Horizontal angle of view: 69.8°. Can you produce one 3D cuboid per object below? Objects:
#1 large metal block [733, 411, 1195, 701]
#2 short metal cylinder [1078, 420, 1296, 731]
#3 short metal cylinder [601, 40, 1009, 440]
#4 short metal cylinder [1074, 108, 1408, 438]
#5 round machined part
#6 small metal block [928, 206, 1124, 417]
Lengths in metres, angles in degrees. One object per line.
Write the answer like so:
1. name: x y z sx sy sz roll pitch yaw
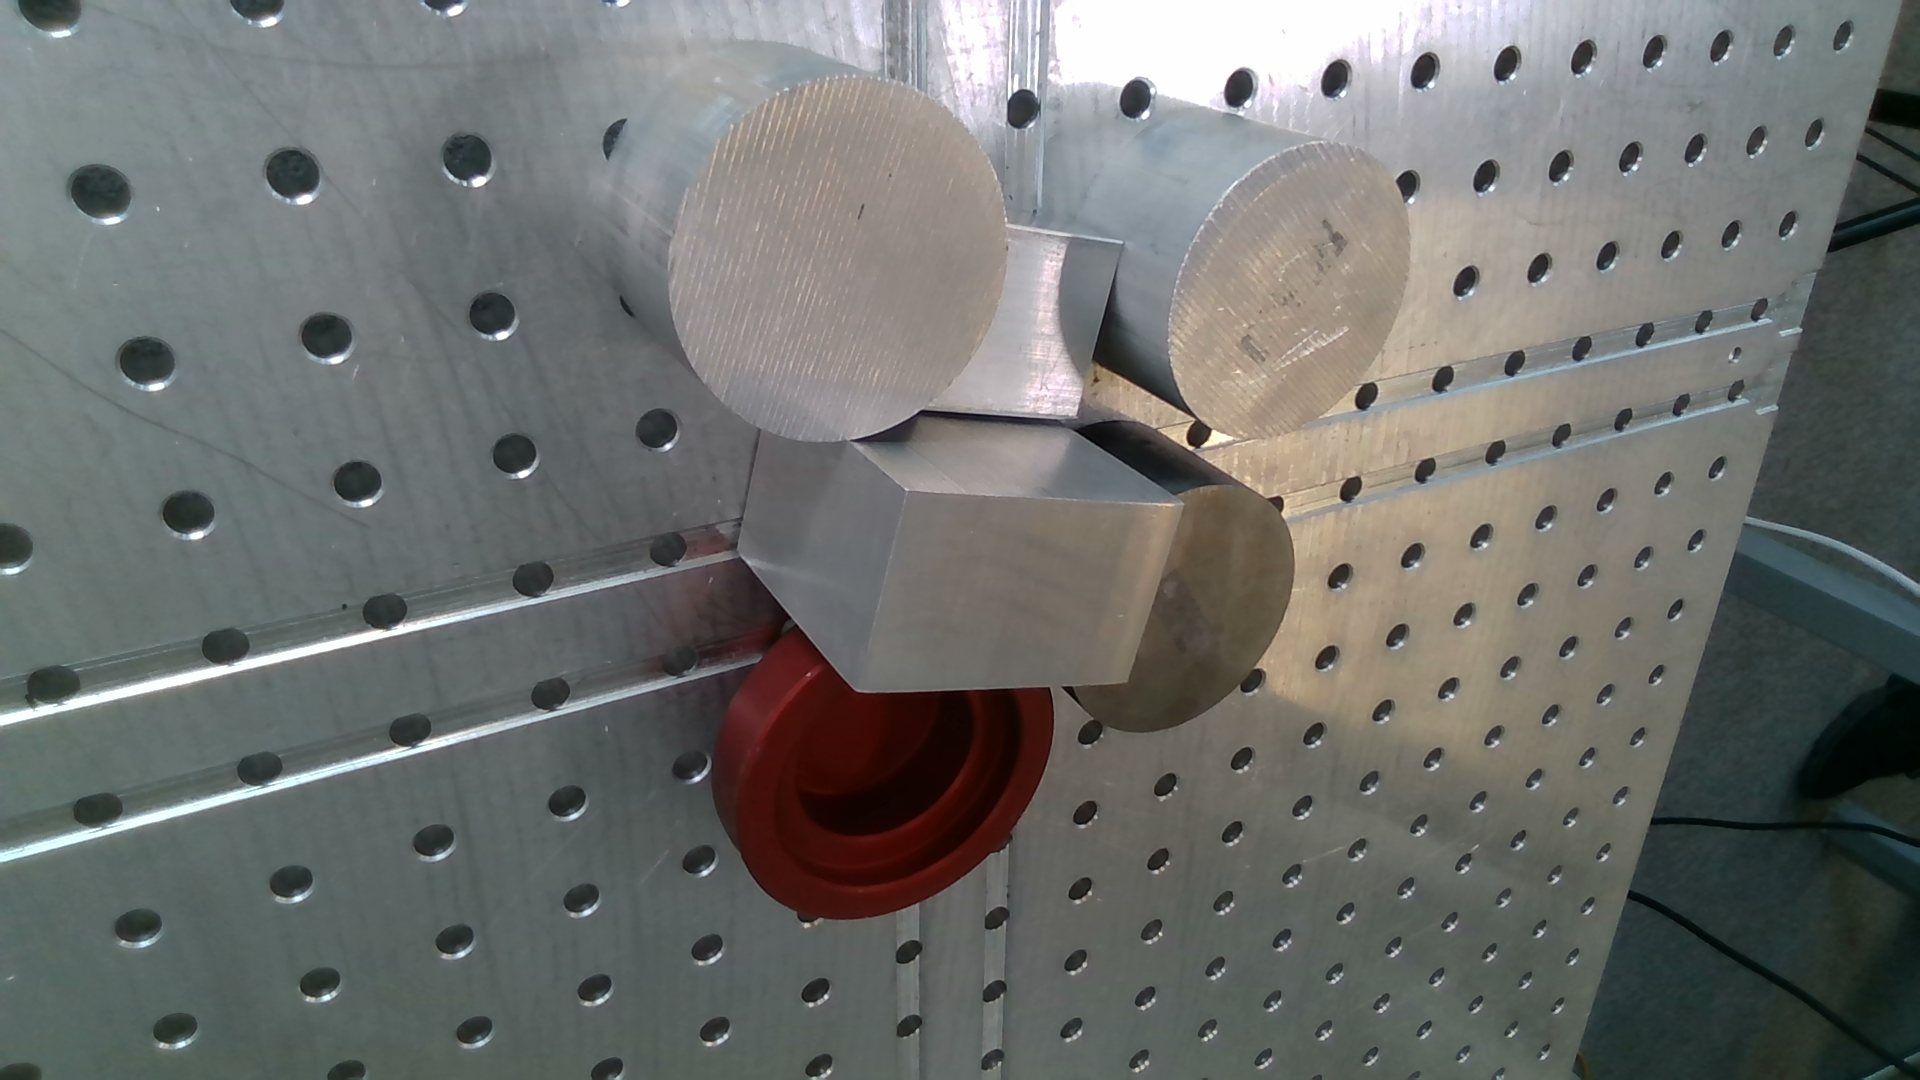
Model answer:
1. large metal block: -0.002 -0.002 0.351 0.080 0.080 0.050 1 114 -32
2. short metal cylinder: 0.053 0.010 0.415 0.080 0.050 0.080 -14 122 -25
3. short metal cylinder: -0.036 -0.069 0.317 0.080 0.050 0.080 -14 122 -25
4. short metal cylinder: 0.076 -0.075 0.383 0.080 0.050 0.080 -14 122 -25
5. round machined part: -0.025 0.056 0.397 0.098 0.042 0.098 -14 122 -25
6. small metal block: 0.010 -0.062 0.365 0.050 0.025 0.050 0 115 -32
